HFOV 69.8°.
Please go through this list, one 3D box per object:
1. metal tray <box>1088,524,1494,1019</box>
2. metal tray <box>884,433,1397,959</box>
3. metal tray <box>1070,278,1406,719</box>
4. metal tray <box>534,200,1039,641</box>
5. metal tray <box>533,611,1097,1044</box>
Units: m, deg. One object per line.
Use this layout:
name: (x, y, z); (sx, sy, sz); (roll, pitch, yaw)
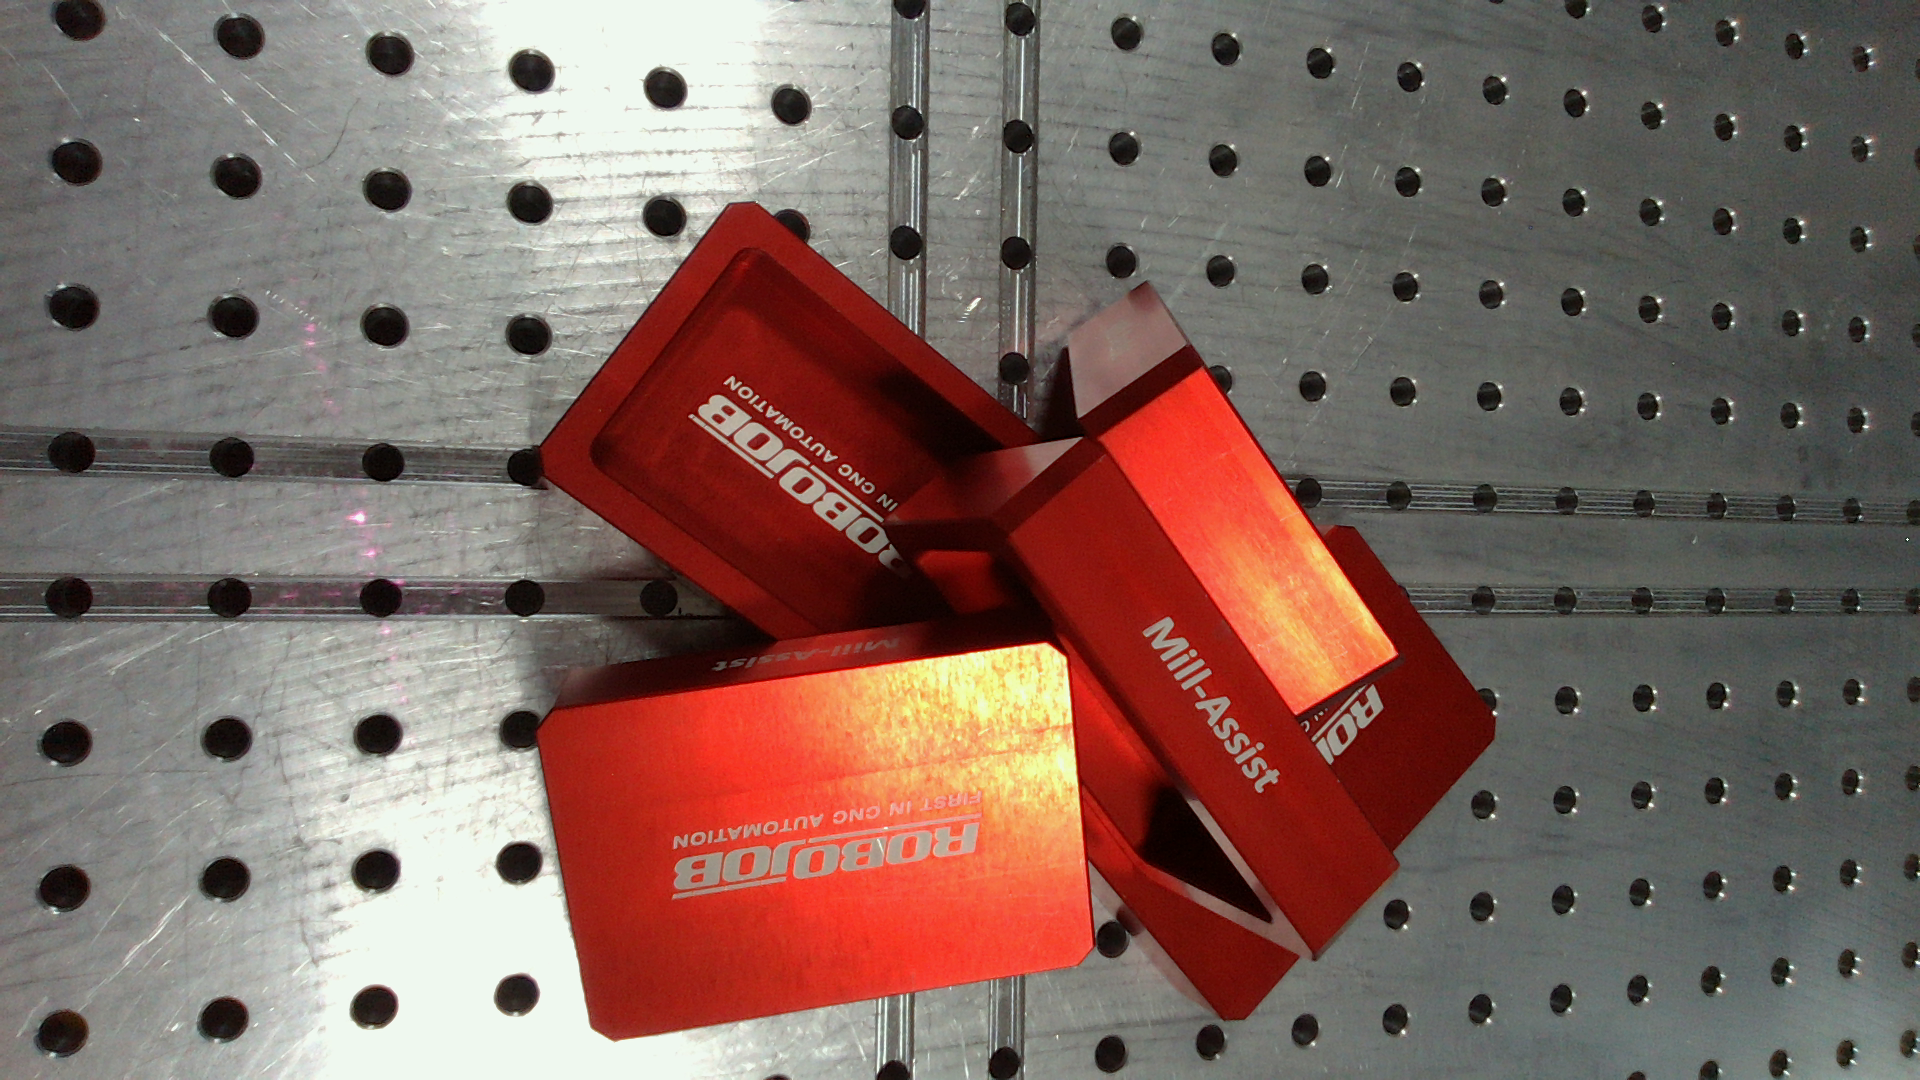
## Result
metal tray: (0.095, 0.069, 0.427); (0.130, 0.030, 0.090); (-43, 104, -15)
metal tray: (0.041, 0.037, 0.344); (0.030, 0.090, 0.130); (-40, 103, -15)
metal tray: (0.067, -0.018, 0.365); (0.030, 0.130, 0.090); (-34, 103, 13)
metal tray: (-0.038, -0.017, 0.379); (0.130, 0.030, 0.090); (38, 78, -16)
metal tray: (-0.034, 0.073, 0.355); (0.130, 0.030, 0.090); (-8, 103, -5)
